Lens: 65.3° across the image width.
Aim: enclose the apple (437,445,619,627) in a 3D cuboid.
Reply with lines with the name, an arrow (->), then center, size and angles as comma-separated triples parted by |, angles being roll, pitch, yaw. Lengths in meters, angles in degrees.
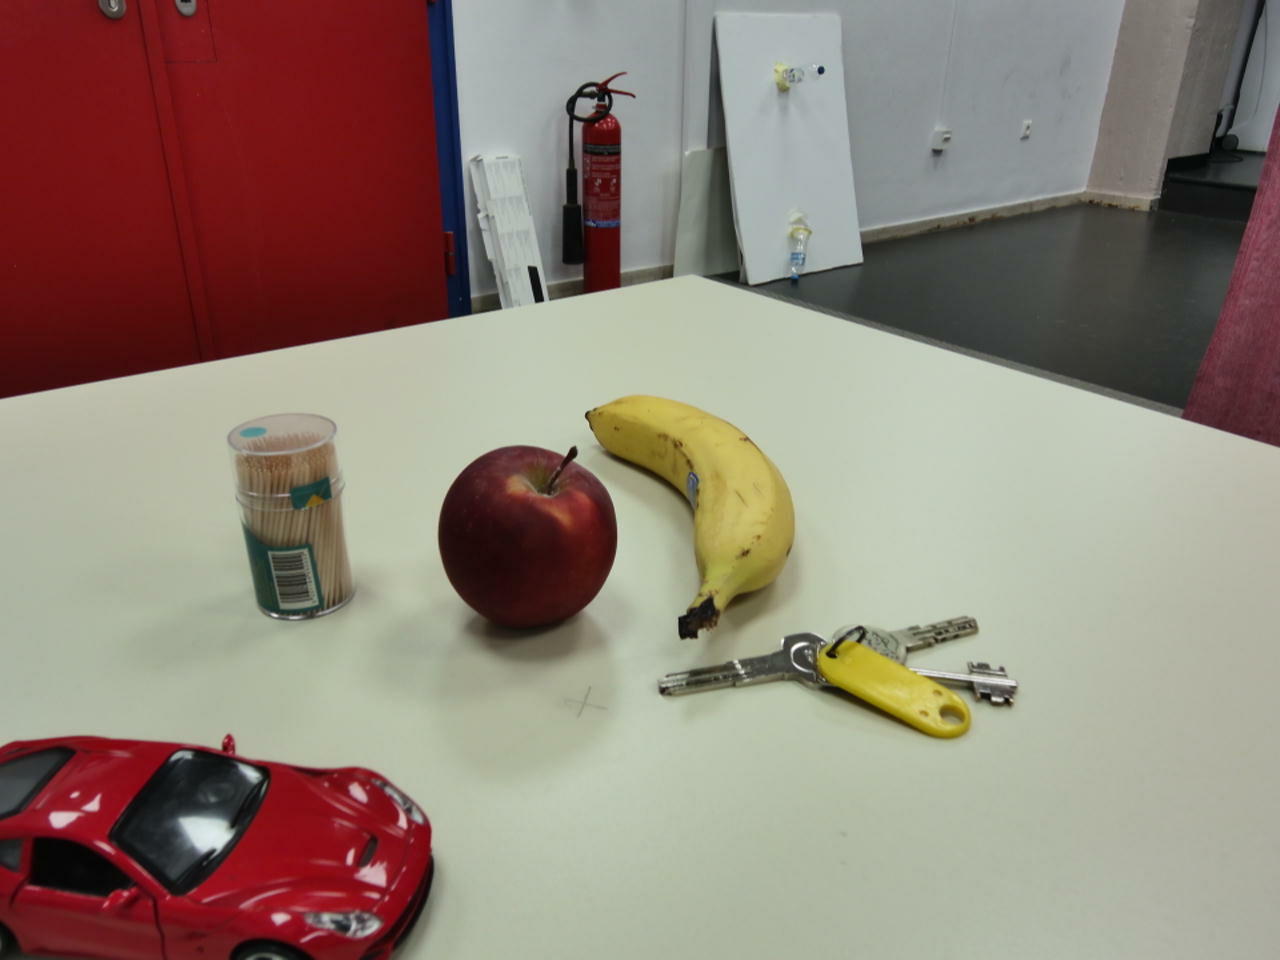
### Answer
apple -> -0.044, 0.022, 0.391 | 0.070, 0.072, 0.070 | 0, 23, 0
